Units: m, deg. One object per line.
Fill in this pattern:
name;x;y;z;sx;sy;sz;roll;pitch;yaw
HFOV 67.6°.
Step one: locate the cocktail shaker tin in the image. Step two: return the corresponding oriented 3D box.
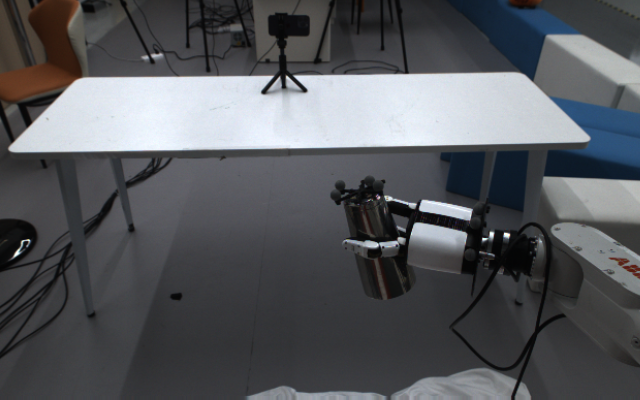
cocktail shaker tin;0.094;0.067;0.801;0.093;0.170;0.093;-17;20;7
